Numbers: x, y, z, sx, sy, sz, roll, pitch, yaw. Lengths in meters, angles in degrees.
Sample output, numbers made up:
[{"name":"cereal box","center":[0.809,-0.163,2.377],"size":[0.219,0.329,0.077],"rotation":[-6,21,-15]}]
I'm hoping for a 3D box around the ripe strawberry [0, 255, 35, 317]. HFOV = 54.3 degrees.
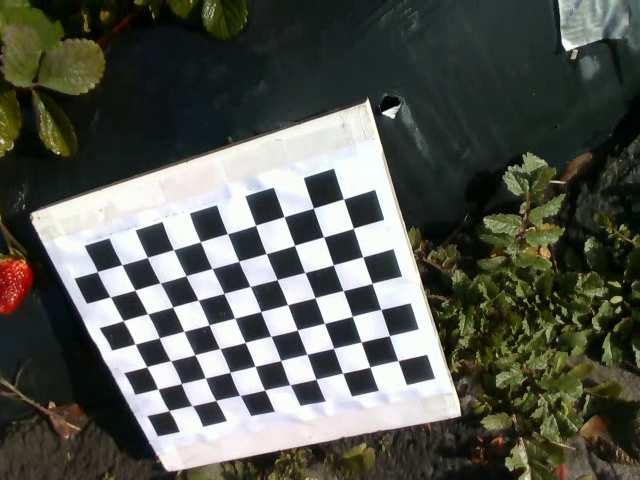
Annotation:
[{"name":"ripe strawberry","center":[-0.096,0.013,0.191],"size":[0.015,0.023,0.015],"rotation":[-8,-30,12]}]
